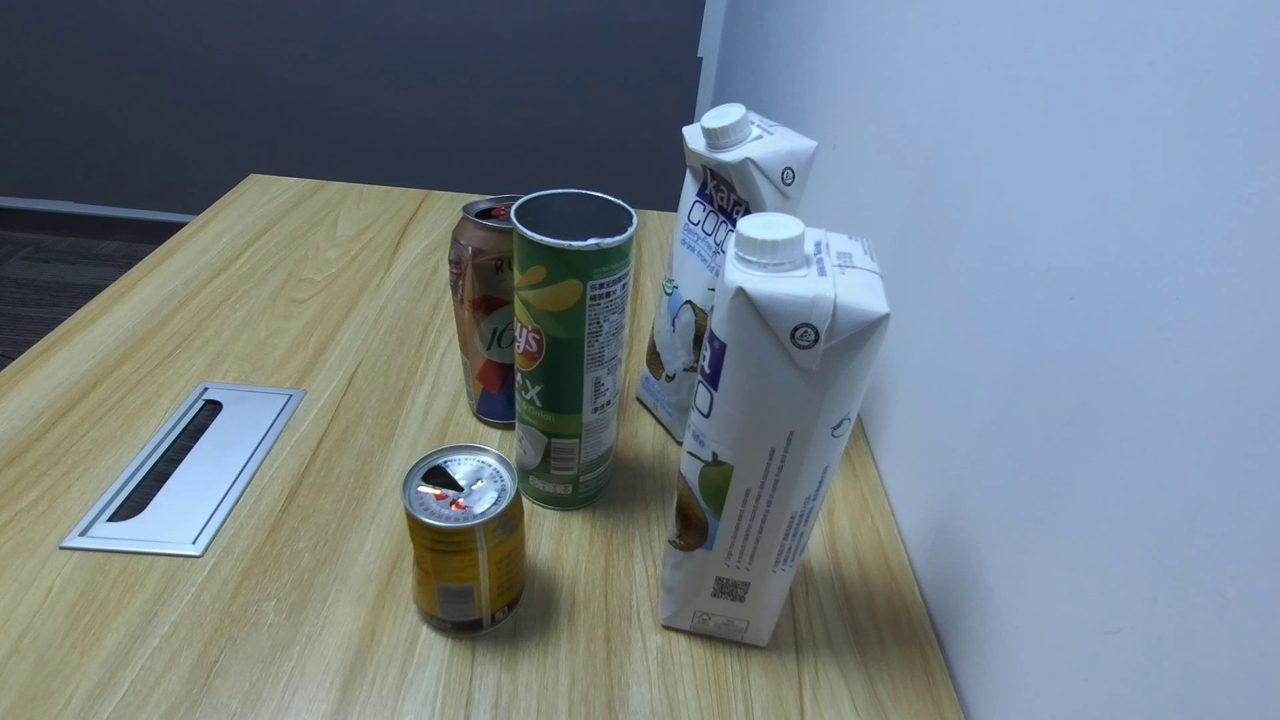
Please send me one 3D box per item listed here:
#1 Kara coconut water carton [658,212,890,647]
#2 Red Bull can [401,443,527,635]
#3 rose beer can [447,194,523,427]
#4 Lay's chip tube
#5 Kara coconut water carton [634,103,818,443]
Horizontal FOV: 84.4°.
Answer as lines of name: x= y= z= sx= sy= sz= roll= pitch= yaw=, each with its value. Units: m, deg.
Kara coconut water carton: x=0.063 y=0.046 z=0.374 sx=0.075 sy=0.245 sz=0.077 roll=11 pitch=32 yaw=3
Red Bull can: x=-0.098 y=0.100 z=0.395 sx=0.069 sy=0.092 sz=0.069 roll=4 pitch=36 yaw=-3
rose beer can: x=-0.095 y=-0.032 z=0.517 sx=0.076 sy=0.167 sz=0.065 roll=-9 pitch=35 yaw=-17
Lay's chip tube: x=-0.043 y=0.000 z=0.443 sx=0.071 sy=0.202 sz=0.071 roll=4 pitch=37 yaw=-2
Kara coconut water carton: x=0.057 y=-0.061 z=0.510 sx=0.071 sy=0.244 sz=0.099 roll=-16 pitch=41 yaw=-28
